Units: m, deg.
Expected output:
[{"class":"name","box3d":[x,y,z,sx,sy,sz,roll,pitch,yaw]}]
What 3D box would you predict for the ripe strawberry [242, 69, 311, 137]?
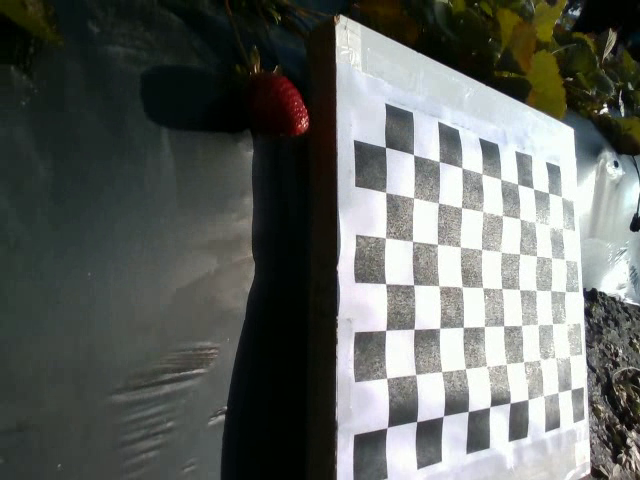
[{"class":"ripe strawberry","box3d":[-0.017,-0.050,0.244,0.035,0.033,0.038,4,30,-45]}]
